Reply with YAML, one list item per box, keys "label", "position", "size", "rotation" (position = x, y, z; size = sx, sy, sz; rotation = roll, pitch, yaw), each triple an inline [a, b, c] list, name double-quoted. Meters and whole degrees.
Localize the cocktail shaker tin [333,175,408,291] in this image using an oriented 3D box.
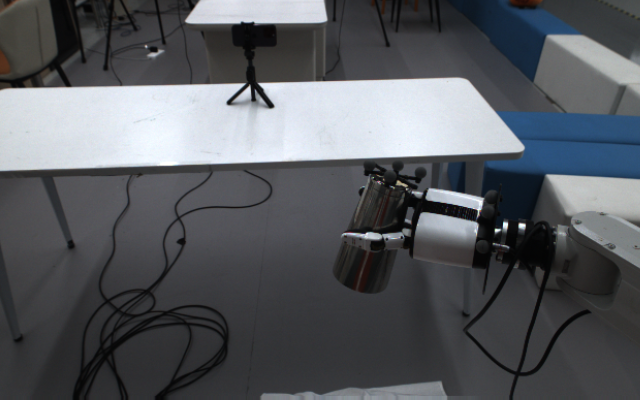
- label: "cocktail shaker tin"
  position: [0.086, 0.044, 0.739]
  size: [0.093, 0.170, 0.093]
  rotation: [12, 24, -5]
